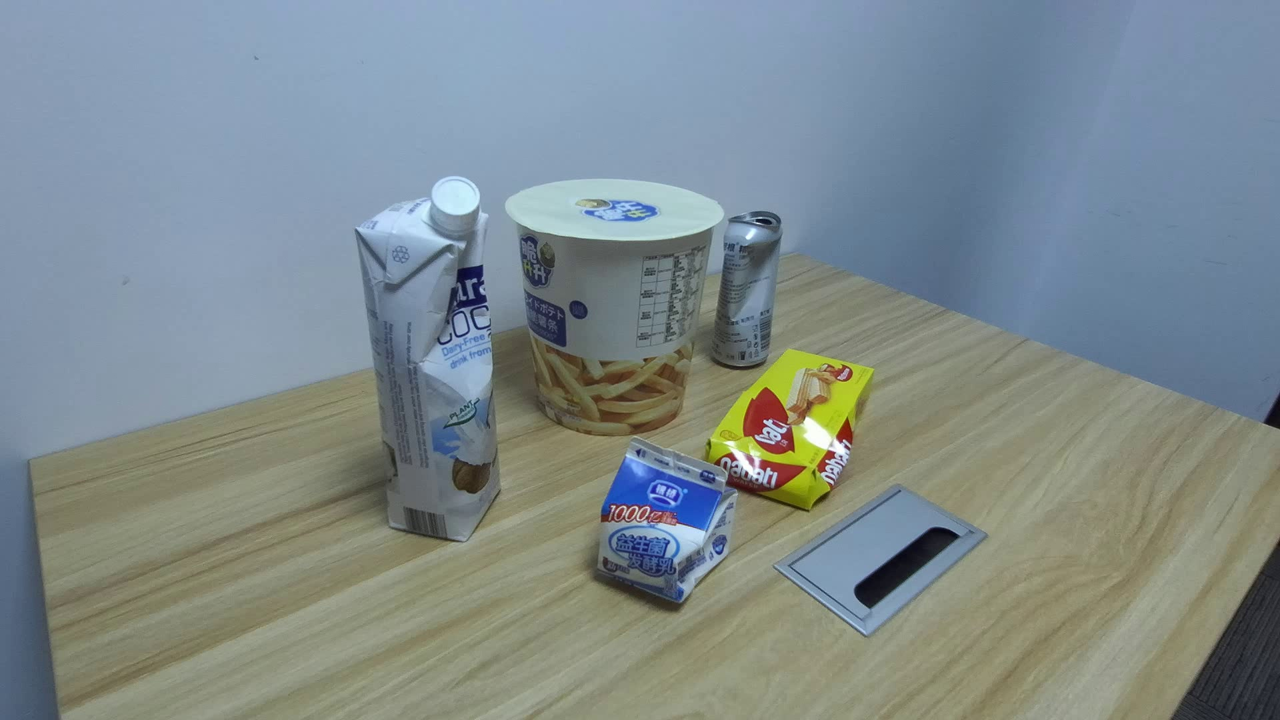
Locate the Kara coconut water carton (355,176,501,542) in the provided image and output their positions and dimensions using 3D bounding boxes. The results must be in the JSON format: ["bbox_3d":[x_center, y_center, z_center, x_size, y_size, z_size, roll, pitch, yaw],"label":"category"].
[{"bbox_3d":[-0.141,0.003,0.488,0.078,0.255,0.083,16,30,21],"label":"Kara coconut water carton"}]

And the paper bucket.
[{"bbox_3d":[-0.026,-0.050,0.662,0.198,0.194,0.198,3,29,-1],"label":"paper bucket"}]

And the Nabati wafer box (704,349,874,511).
[{"bbox_3d":[0.145,0.057,0.644,0.106,0.042,0.205,16,32,26],"label":"Nabati wafer box"}]

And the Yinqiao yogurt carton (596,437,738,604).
[{"bbox_3d":[0.020,0.104,0.480,0.074,0.097,0.080,14,23,21],"label":"Yinqiao yogurt carton"}]

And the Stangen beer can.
[{"bbox_3d":[0.116,-0.074,0.755,0.066,0.162,0.077,4,27,0],"label":"Stangen beer can"}]
